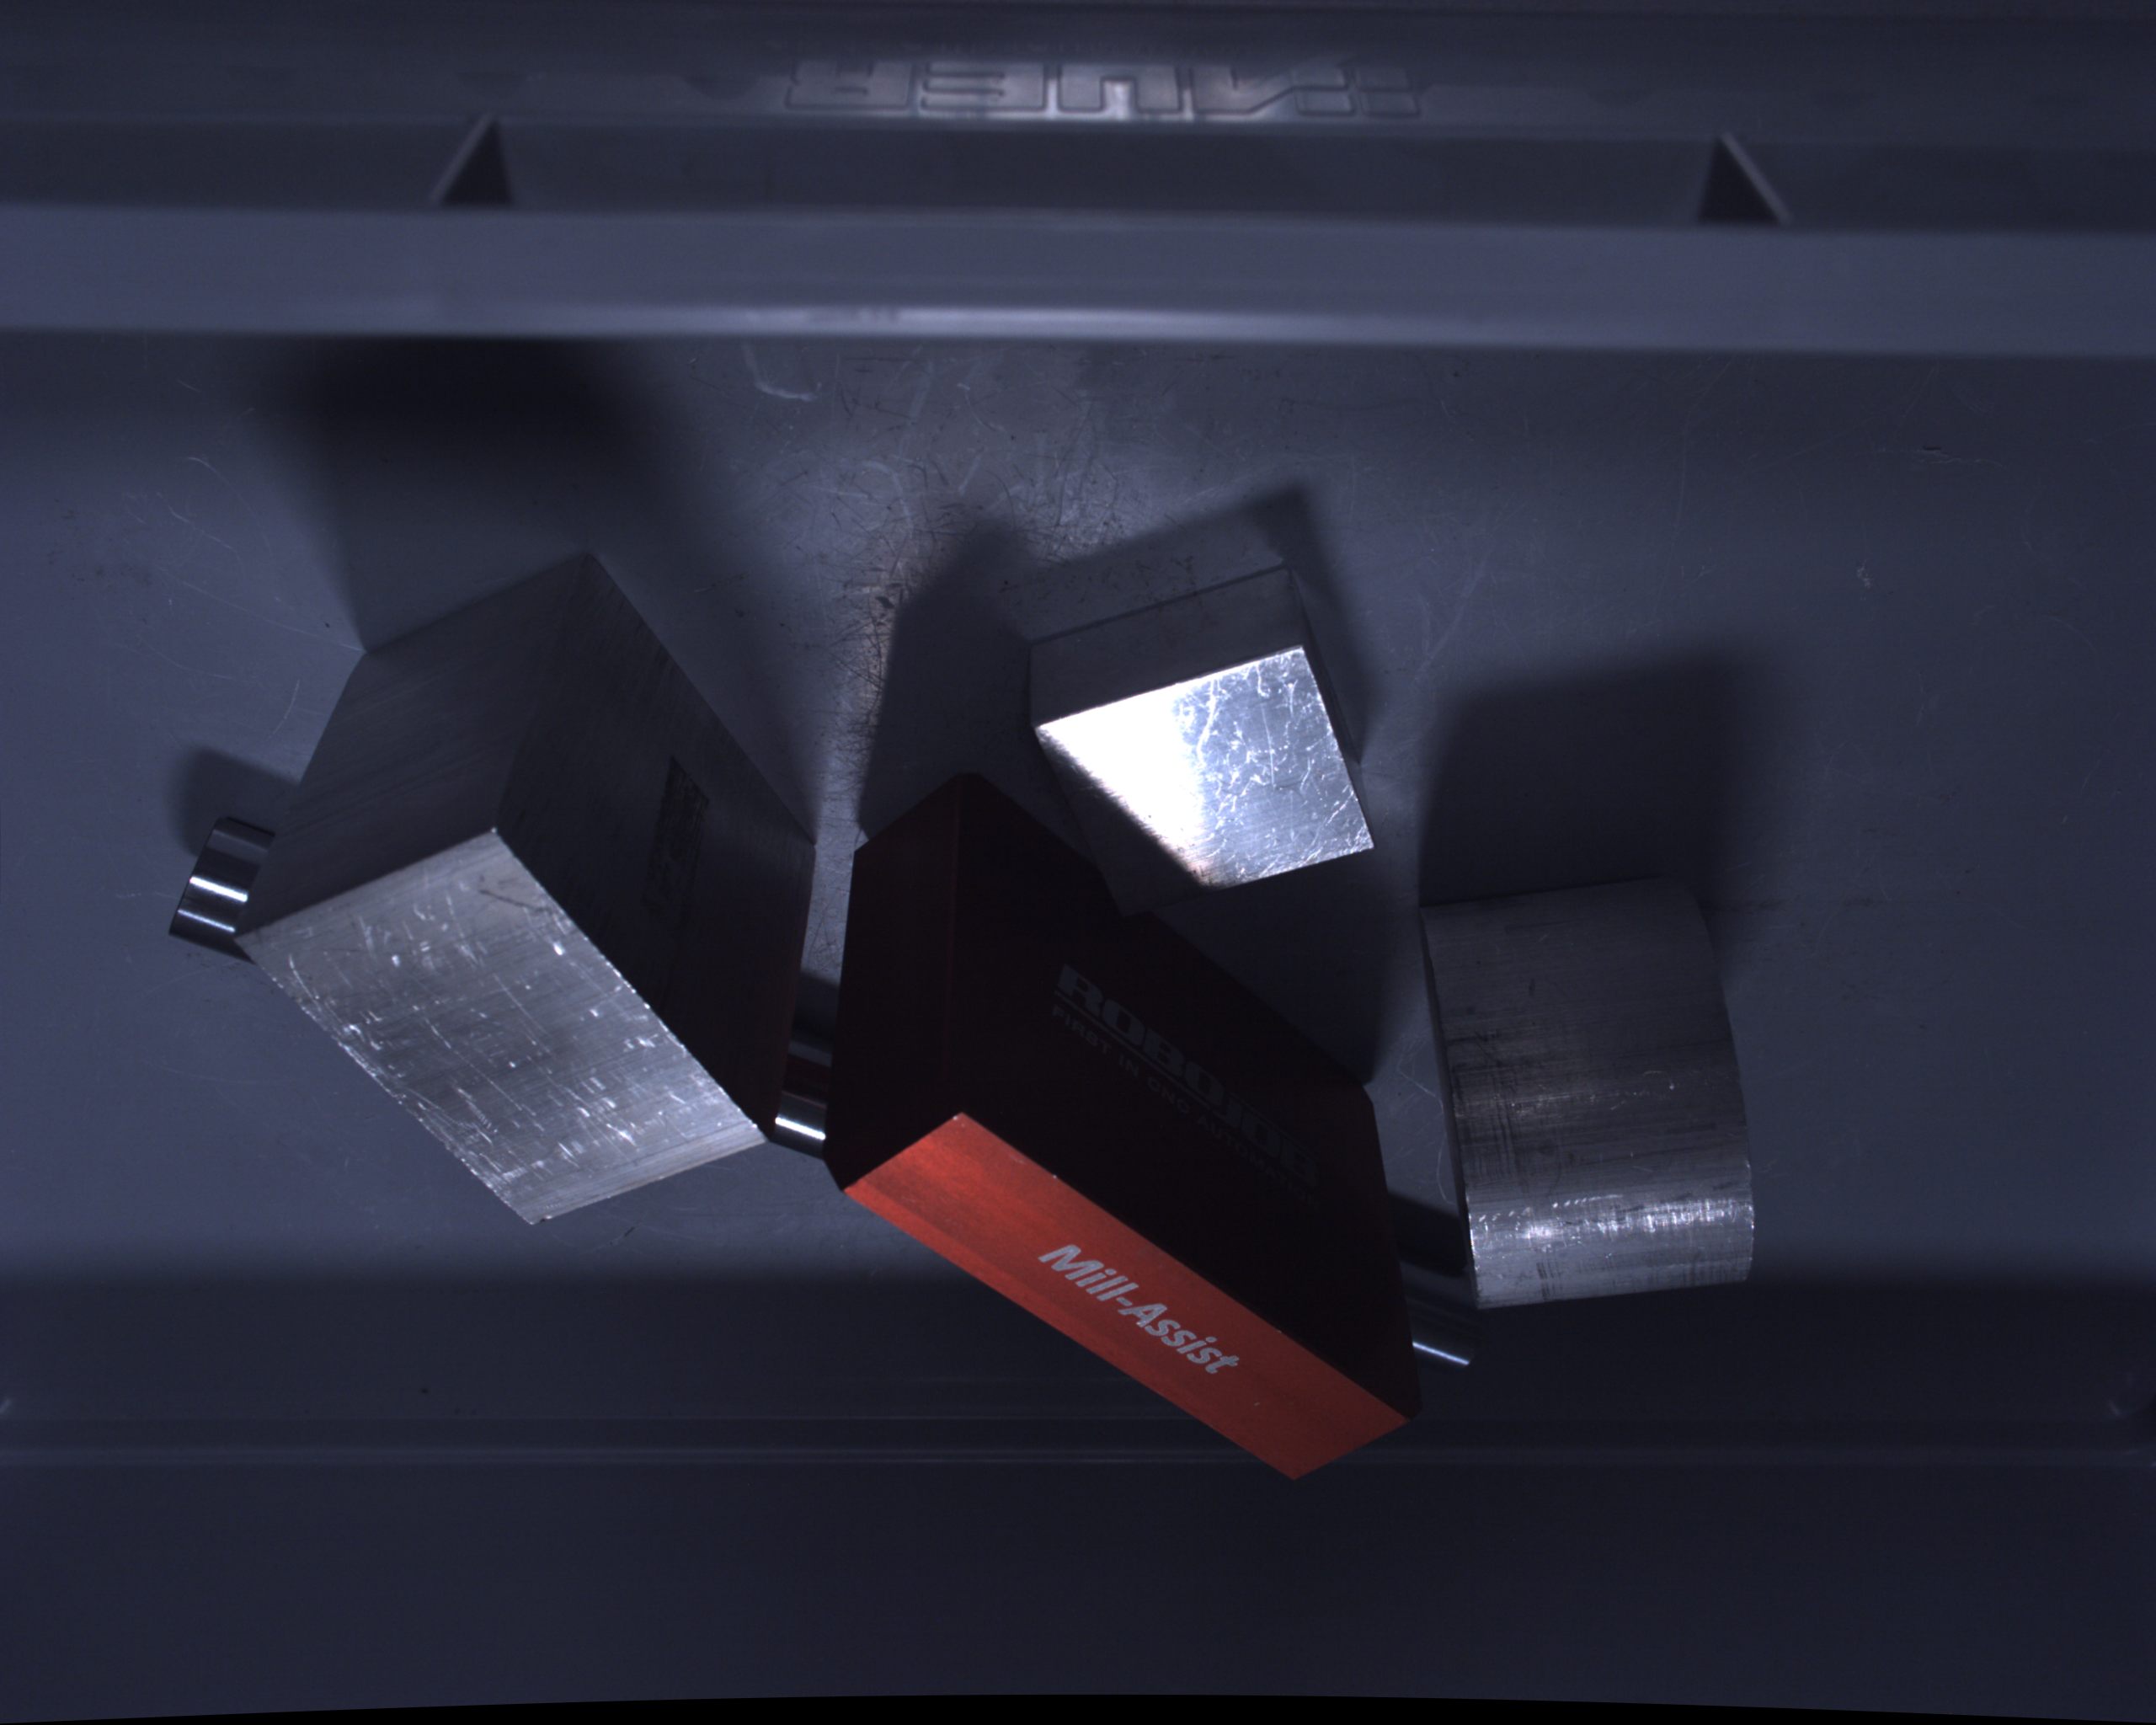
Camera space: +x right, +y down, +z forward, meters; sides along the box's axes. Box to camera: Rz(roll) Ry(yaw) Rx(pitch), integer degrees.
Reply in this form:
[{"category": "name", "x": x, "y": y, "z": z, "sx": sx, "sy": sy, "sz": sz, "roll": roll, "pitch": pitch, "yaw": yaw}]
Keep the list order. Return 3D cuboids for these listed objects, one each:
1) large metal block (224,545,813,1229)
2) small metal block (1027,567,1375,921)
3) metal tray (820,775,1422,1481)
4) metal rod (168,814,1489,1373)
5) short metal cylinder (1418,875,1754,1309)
[{"category": "large metal block", "x": -0.093, "y": 0.004, "z": 0.373, "sx": 0.050, "sy": 0.080, "sz": 0.080, "roll": -21, "pitch": 127, "yaw": 16}, {"category": "small metal block", "x": 0.023, "y": -0.021, "z": 0.388, "sx": 0.050, "sy": 0.025, "sz": 0.050, "roll": -16, "pitch": 129, "yaw": 12}, {"category": "metal tray", "x": 0.011, "y": 0.052, "z": 0.408, "sx": 0.030, "sy": 0.090, "sz": 0.130, "roll": -36, "pitch": 122, "yaw": 26}, {"category": "metal rod", "x": -0.040, "y": 0.056, "z": 0.455, "sx": 0.302, "sy": 0.025, "sz": 0.025, "roll": 22, "pitch": 126, "yaw": -19}, {"category": "short metal cylinder", "x": 0.098, "y": 0.045, "z": 0.411, "sx": 0.050, "sy": 0.080, "sz": 0.080, "roll": -8, "pitch": 130, "yaw": 8}]
